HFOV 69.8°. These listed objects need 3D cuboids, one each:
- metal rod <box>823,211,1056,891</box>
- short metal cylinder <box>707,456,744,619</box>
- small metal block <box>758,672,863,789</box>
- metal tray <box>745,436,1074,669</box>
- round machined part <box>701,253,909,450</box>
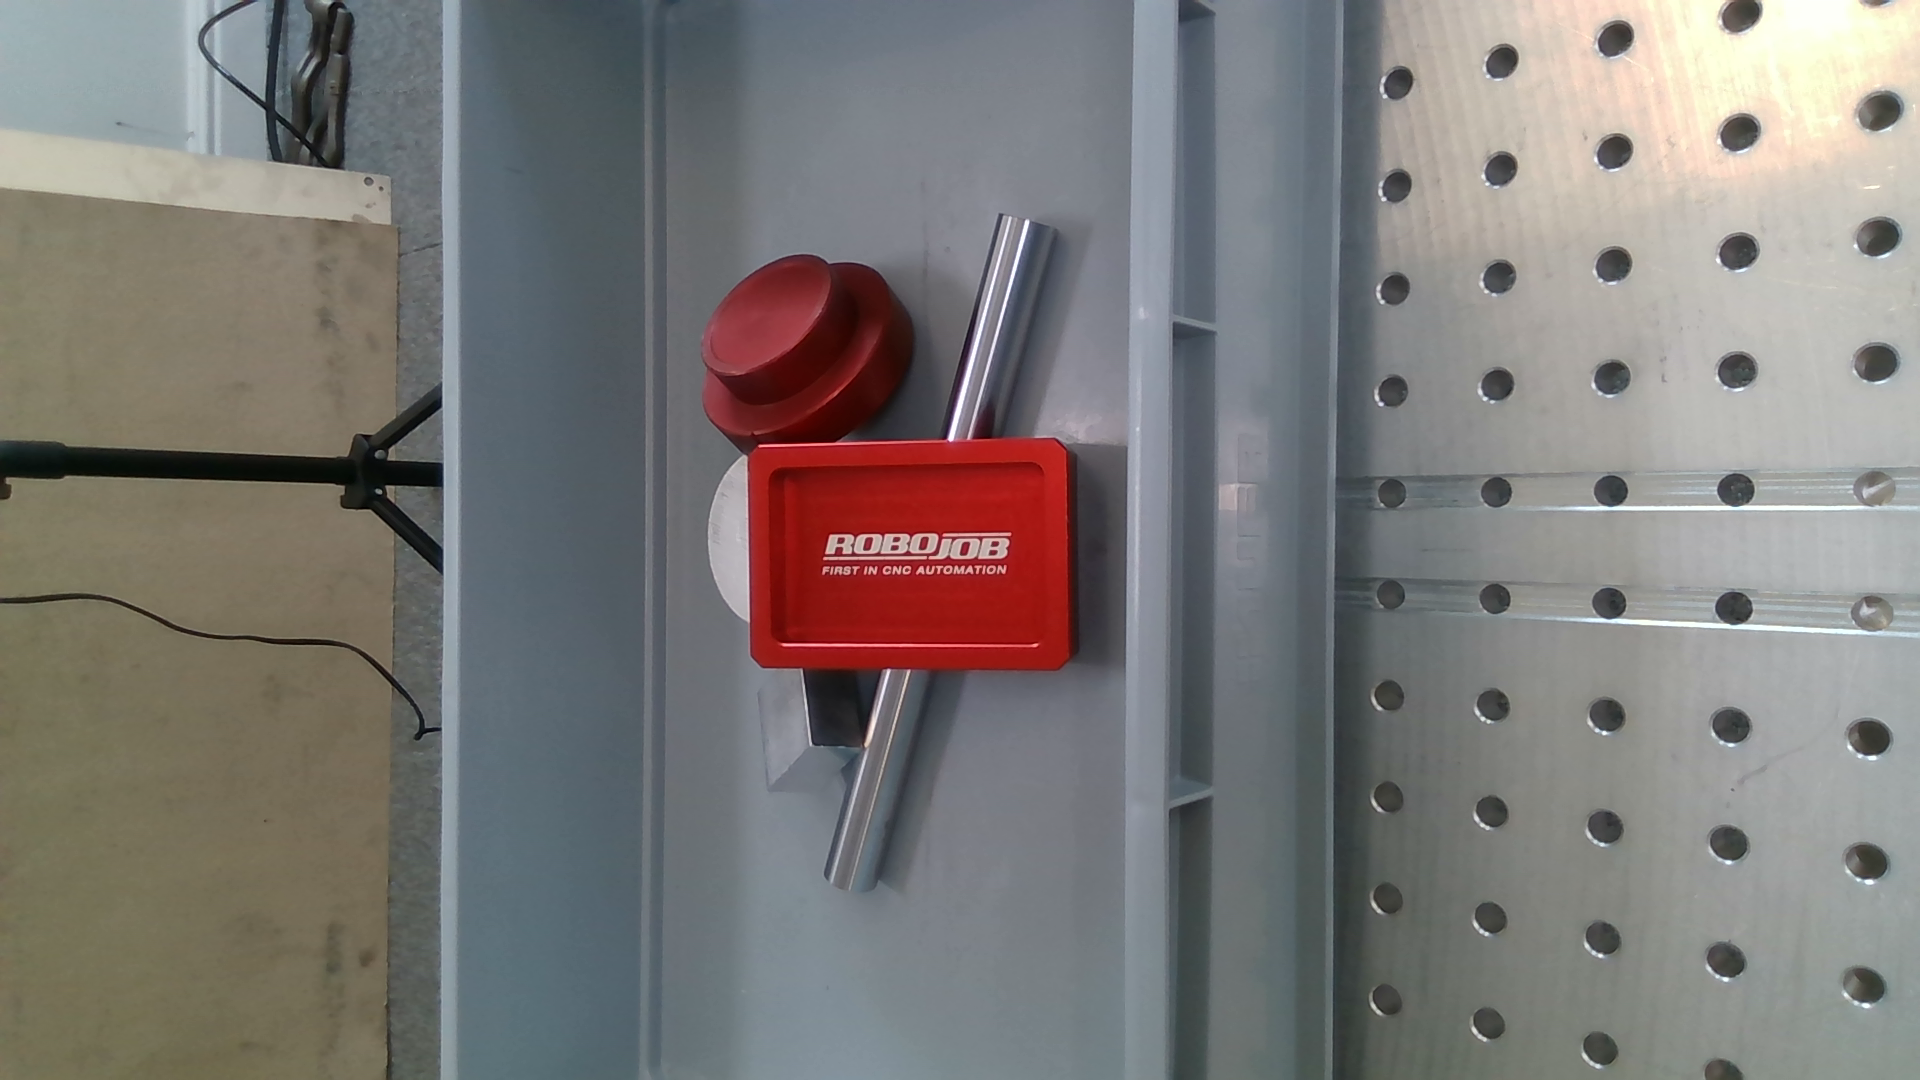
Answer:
[{"bbox_3d":[-0.011,0.012,0.591,0.025,0.025,0.300,25,107,37],"label":"metal rod"},{"bbox_3d":[-0.069,-0.002,0.623,0.080,0.050,0.080,0,91,40],"label":"short metal cylinder"},{"bbox_3d":[-0.069,0.081,0.626,0.050,0.025,0.050,-49,43,47],"label":"small metal block"},{"bbox_3d":[-0.019,0.005,0.555,0.130,0.030,0.090,-1,91,11],"label":"metal tray"},{"bbox_3d":[-0.073,-0.086,0.600,0.098,0.042,0.098,-19,48,23],"label":"round machined part"}]
